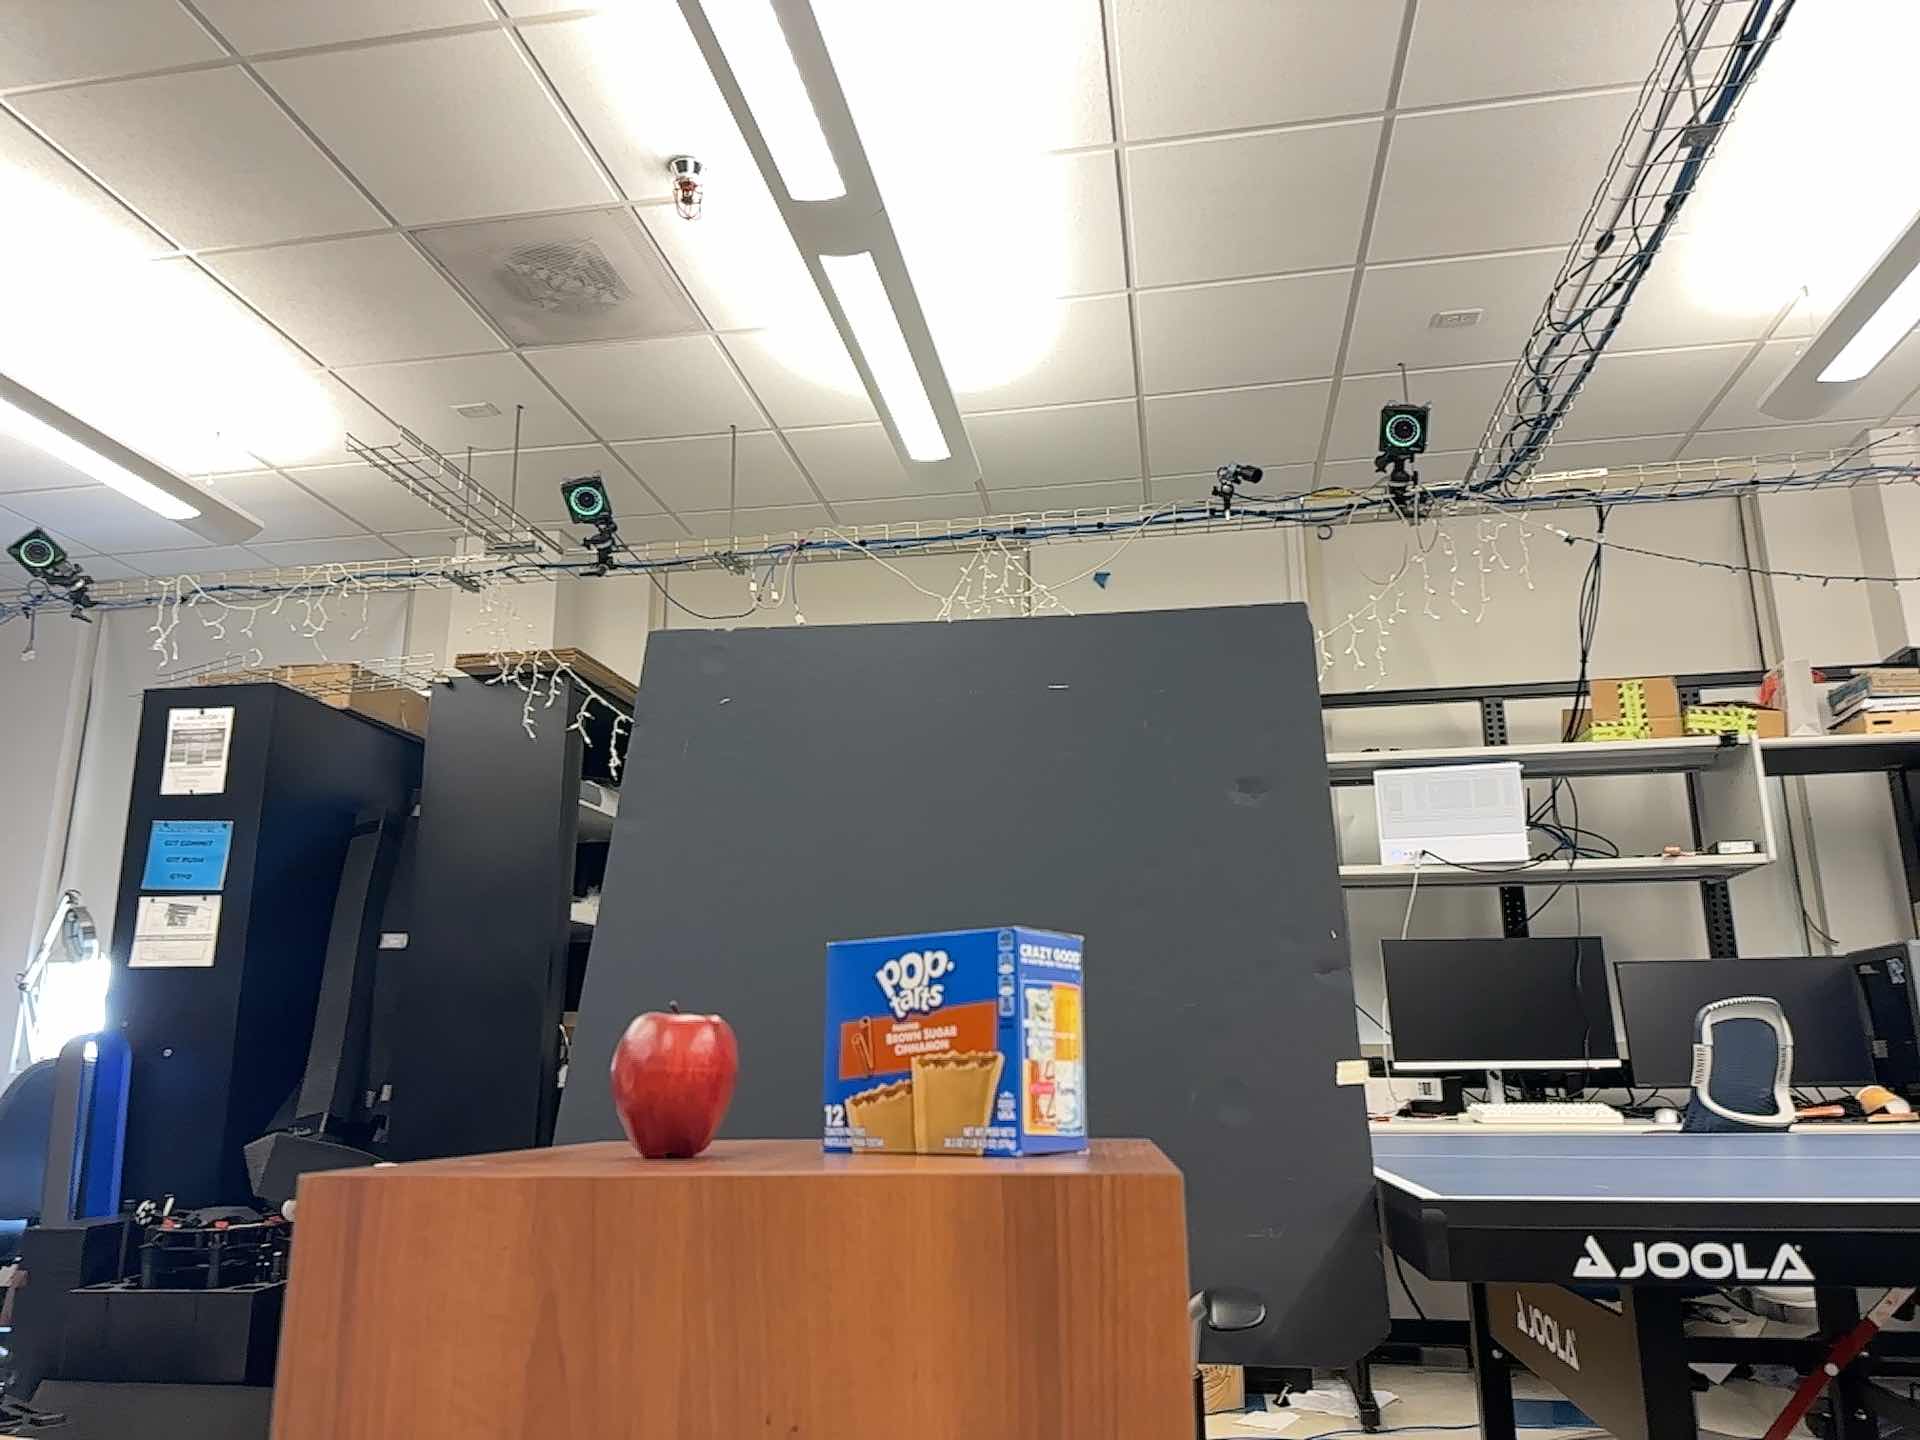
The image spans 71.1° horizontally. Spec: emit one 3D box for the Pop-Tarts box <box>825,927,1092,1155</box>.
[{"bbox_3d":[-0.004,0.219,0.908,0.161,0.135,0.075,-12,-20,37],"label":"Pop-Tarts box"}]

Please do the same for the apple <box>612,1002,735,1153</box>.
[{"bbox_3d":[-0.188,0.231,0.872,0.079,0.093,0.079,0,-14,0],"label":"apple"}]
